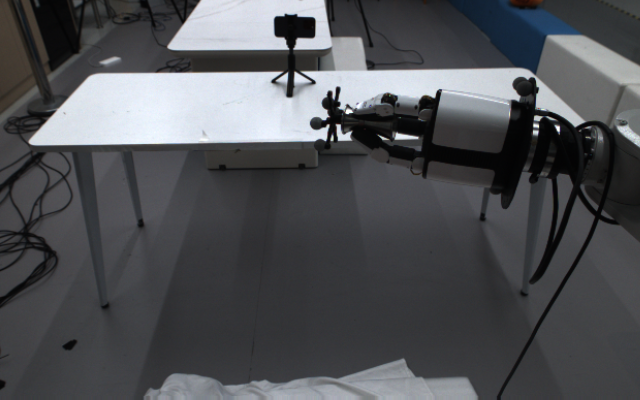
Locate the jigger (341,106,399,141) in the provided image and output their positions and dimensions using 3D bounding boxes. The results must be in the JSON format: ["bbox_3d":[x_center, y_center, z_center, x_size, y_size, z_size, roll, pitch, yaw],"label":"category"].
[{"bbox_3d":[0.072,-0.108,0.637,0.071,0.043,0.043,9,35,16],"label":"jigger"}]
